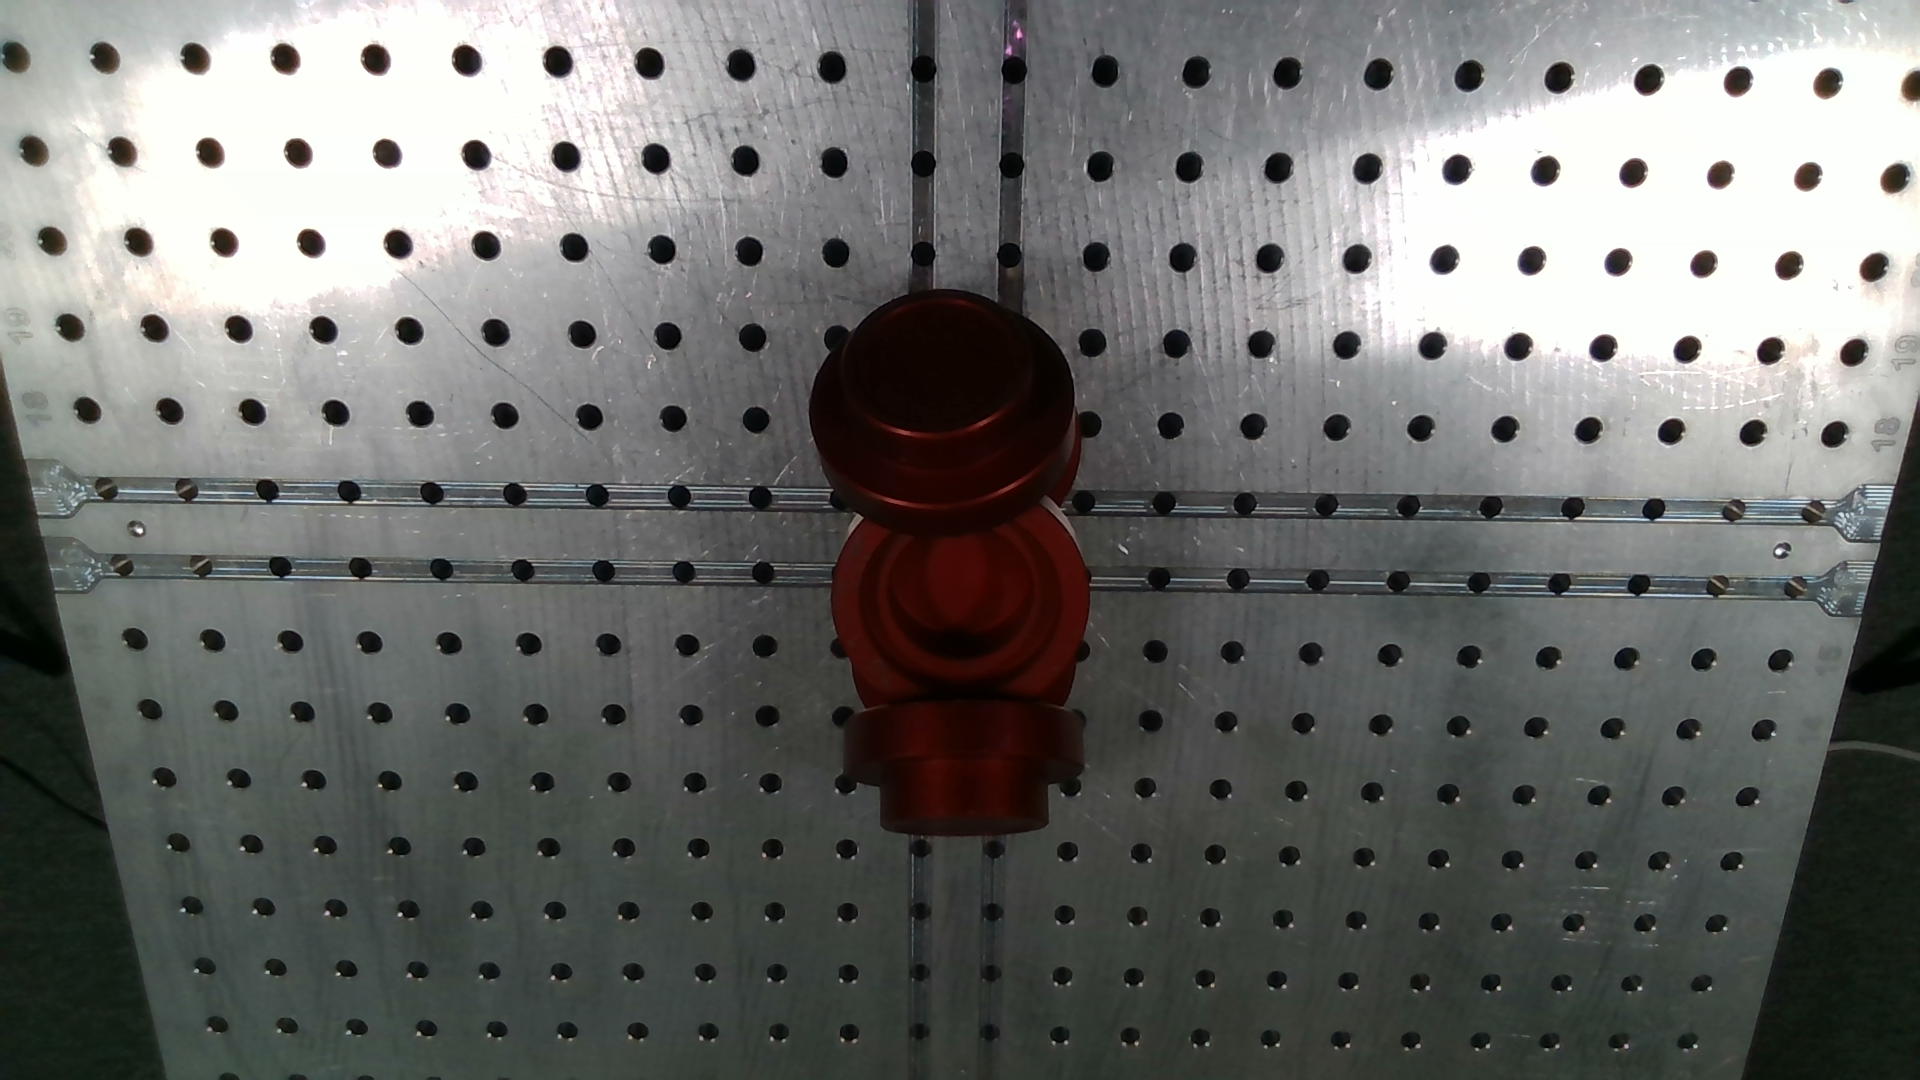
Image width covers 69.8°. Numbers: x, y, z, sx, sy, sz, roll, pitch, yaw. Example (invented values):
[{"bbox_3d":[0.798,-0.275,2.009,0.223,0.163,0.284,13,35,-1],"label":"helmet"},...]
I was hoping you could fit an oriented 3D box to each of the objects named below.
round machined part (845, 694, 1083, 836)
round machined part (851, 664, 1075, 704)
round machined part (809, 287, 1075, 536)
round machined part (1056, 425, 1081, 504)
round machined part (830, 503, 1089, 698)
[{"bbox_3d":[0.002,0.095,0.559,0.098,0.098,0.042,0,70,0],"label":"round machined part"},{"bbox_3d":[0.001,0.053,0.597,0.098,0.042,0.098,0,110,0],"label":"round machined part"},{"bbox_3d":[-0.007,-0.053,0.504,0.098,0.098,0.042,-5,147,2],"label":"round machined part"},{"bbox_3d":[0.001,-0.039,0.563,0.098,0.042,0.098,0,110,0],"label":"round machined part"},{"bbox_3d":[0.000,0.017,0.539,0.098,0.042,0.098,0,110,0],"label":"round machined part"}]
